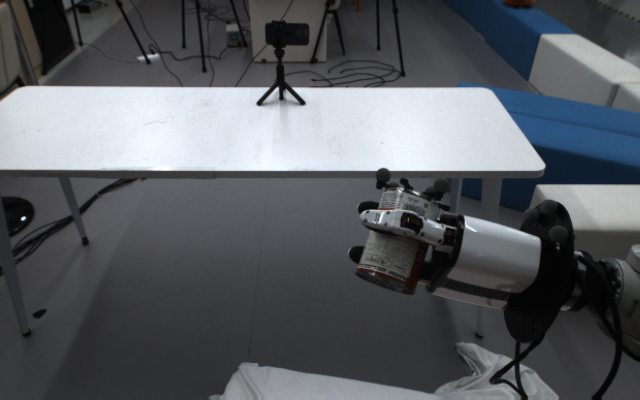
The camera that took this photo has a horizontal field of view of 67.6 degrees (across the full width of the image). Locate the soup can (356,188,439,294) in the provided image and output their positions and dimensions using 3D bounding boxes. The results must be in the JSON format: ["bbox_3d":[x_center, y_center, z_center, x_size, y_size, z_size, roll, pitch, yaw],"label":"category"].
[{"bbox_3d":[0.088,0.044,0.537,0.067,0.067,0.101,15,75,18],"label":"soup can"}]
